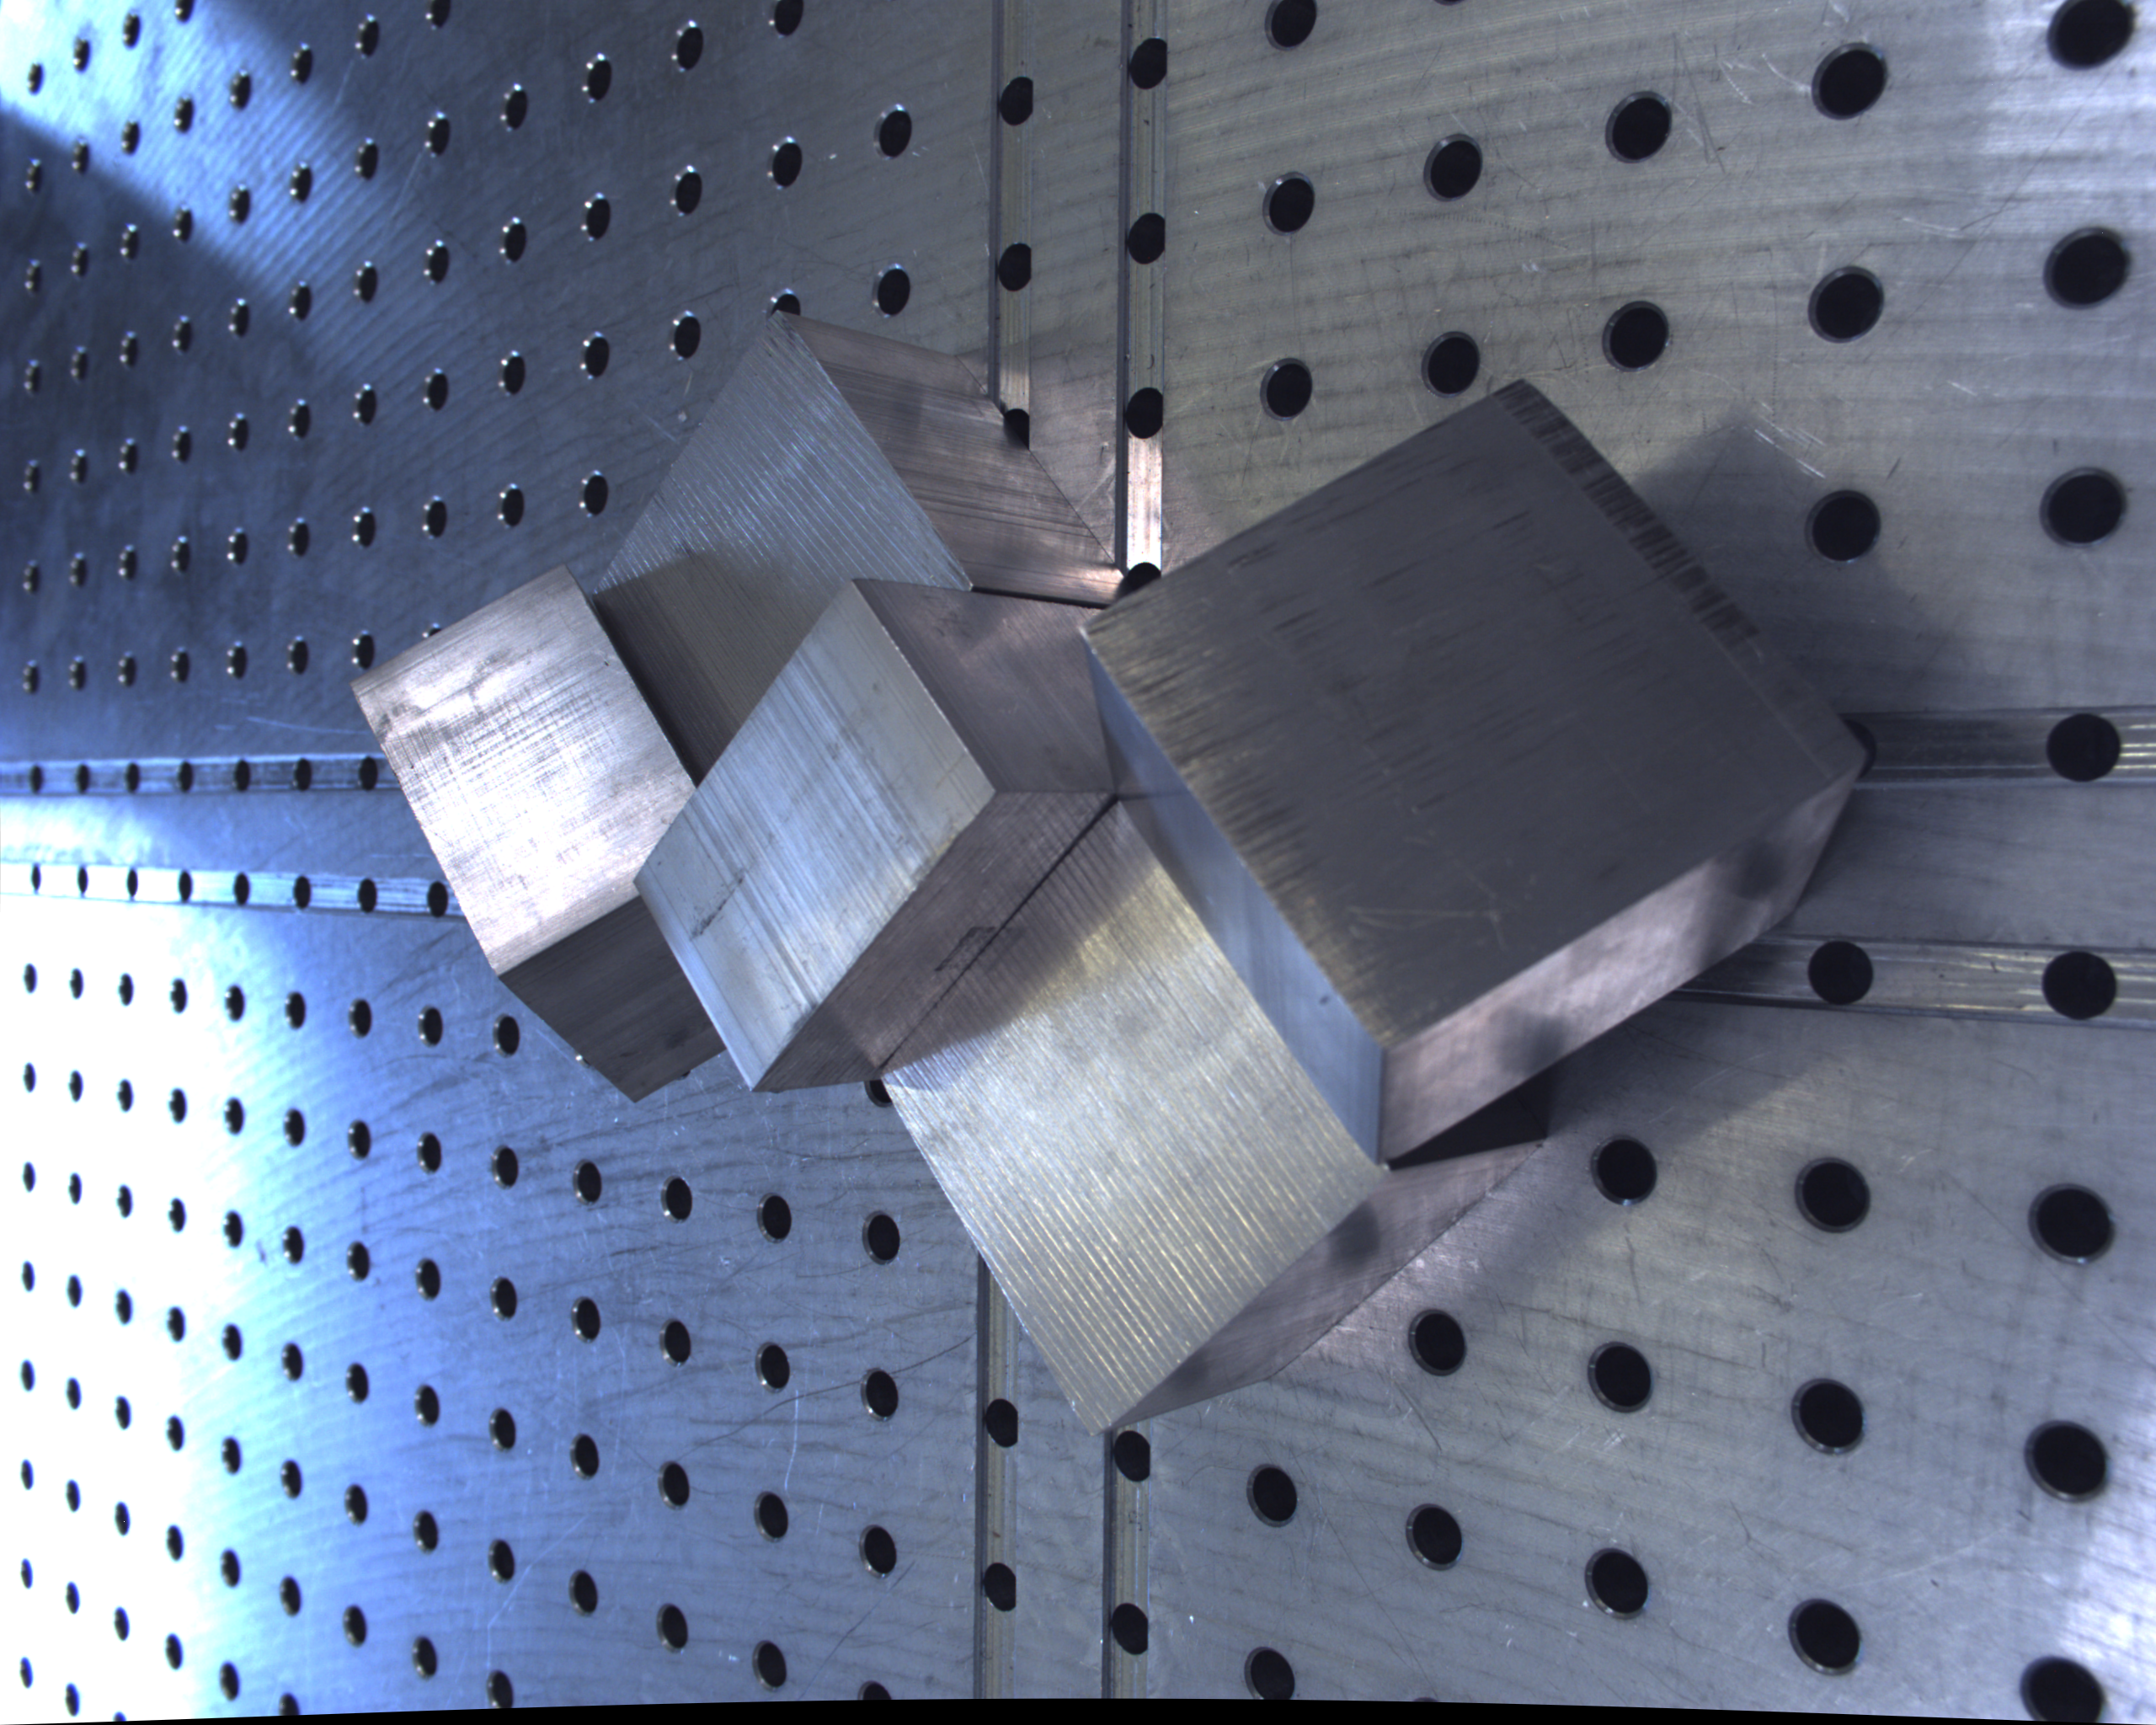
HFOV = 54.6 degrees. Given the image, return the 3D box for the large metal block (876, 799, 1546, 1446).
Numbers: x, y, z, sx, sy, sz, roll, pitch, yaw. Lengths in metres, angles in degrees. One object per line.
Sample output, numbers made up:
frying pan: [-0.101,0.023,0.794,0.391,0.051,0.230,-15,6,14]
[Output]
large metal block: [0.021,0.045,0.376,0.080,0.050,0.080,-48,60,29]

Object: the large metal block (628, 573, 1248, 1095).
large metal block: [-0.023,-0.005,0.393,0.080,0.081,0.050,-50,62,28]

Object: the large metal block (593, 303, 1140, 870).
large metal block: [-0.045,-0.054,0.431,0.080,0.050,0.080,-50,61,30]

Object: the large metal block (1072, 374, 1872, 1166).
large metal block: [0.057,-0.014,0.319,0.080,0.050,0.080,-31,65,-7]

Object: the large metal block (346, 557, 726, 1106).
large metal block: [-0.103,-0.004,0.450,0.050,0.080,0.080,-31,65,-6]
